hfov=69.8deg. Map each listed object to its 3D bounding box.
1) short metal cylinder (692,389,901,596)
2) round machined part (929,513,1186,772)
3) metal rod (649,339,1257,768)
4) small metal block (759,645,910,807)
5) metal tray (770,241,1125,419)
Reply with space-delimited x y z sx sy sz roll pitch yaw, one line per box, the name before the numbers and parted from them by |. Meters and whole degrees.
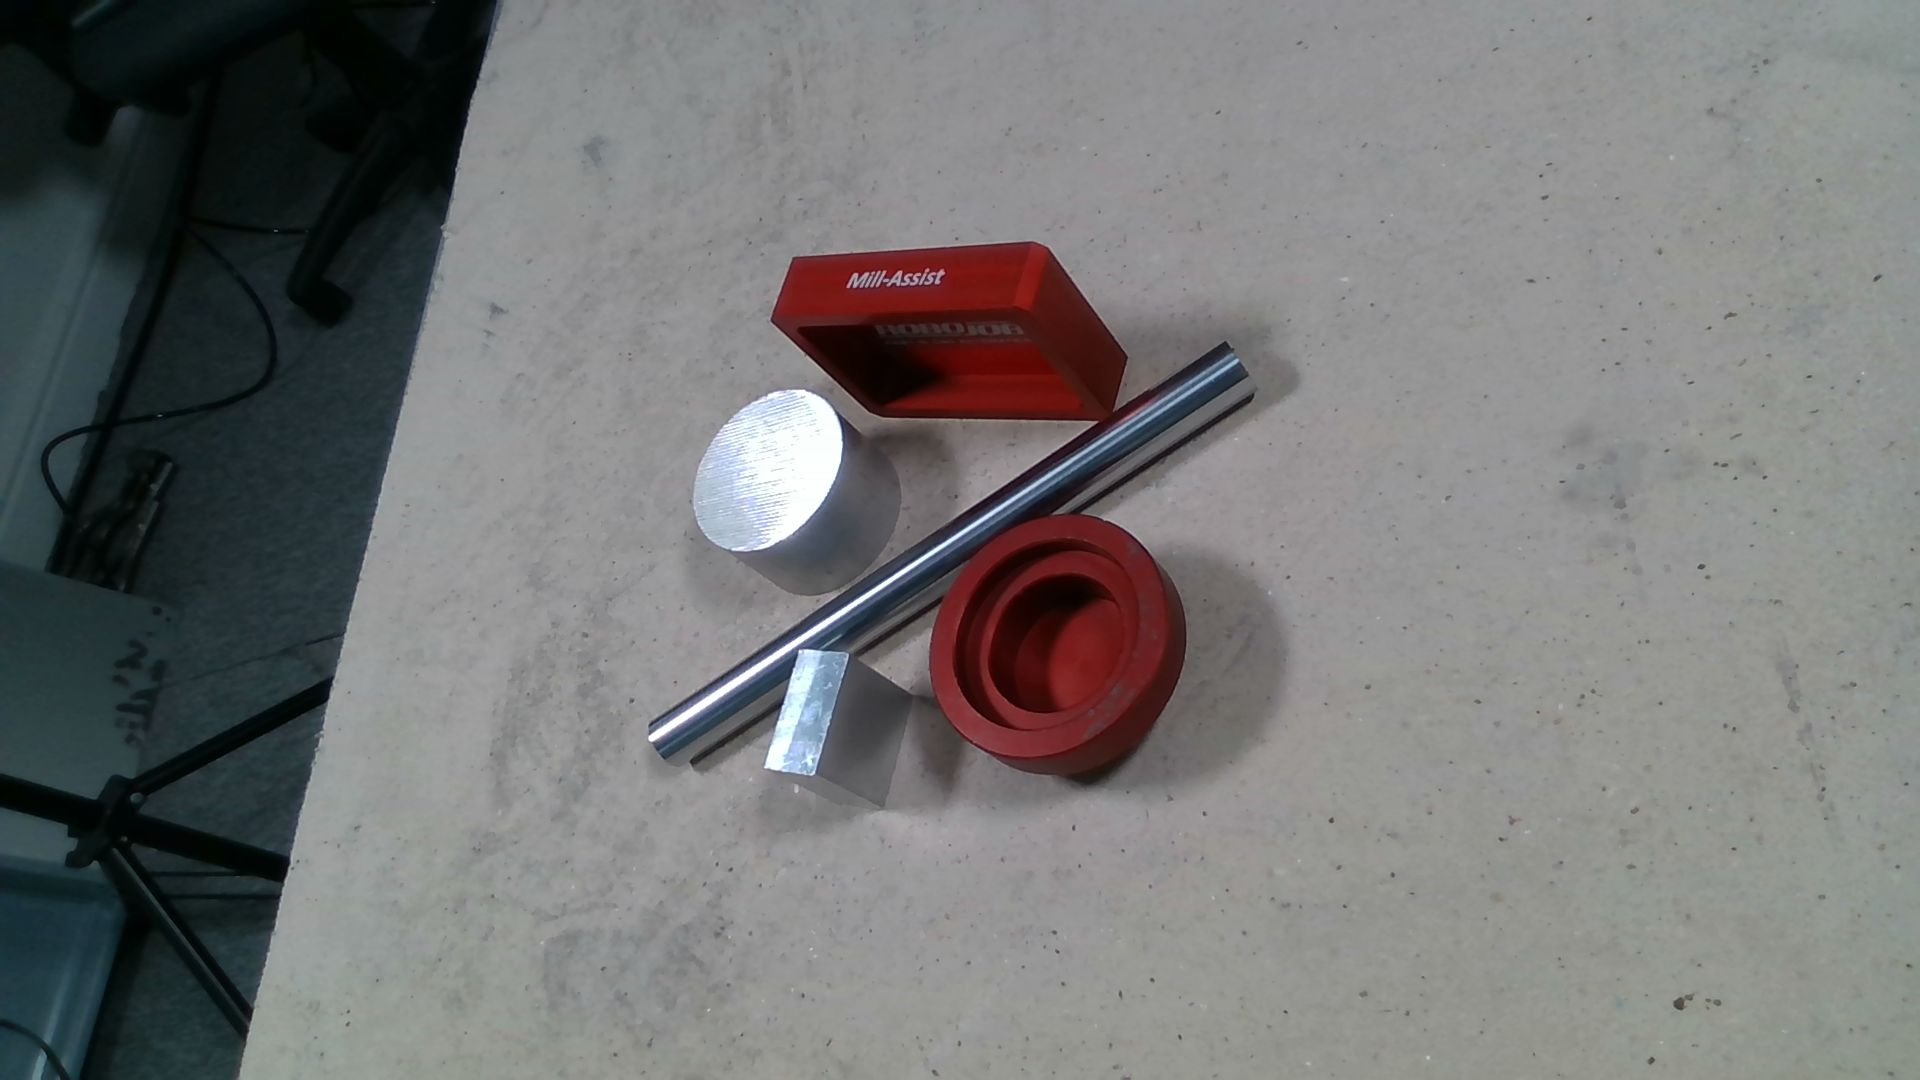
short metal cylinder | -0.074 -0.021 0.626 0.080 0.050 0.080 -14 59 25
round machined part | 0.041 0.043 0.527 0.098 0.042 0.098 -14 59 25
metal rod | -0.009 0.010 0.587 0.300 0.025 0.025 -34 53 12
small metal block | -0.049 0.075 0.556 0.025 0.050 0.050 3 67 33
metal tray | -0.005 -0.087 0.593 0.130 0.090 0.030 4 68 33
